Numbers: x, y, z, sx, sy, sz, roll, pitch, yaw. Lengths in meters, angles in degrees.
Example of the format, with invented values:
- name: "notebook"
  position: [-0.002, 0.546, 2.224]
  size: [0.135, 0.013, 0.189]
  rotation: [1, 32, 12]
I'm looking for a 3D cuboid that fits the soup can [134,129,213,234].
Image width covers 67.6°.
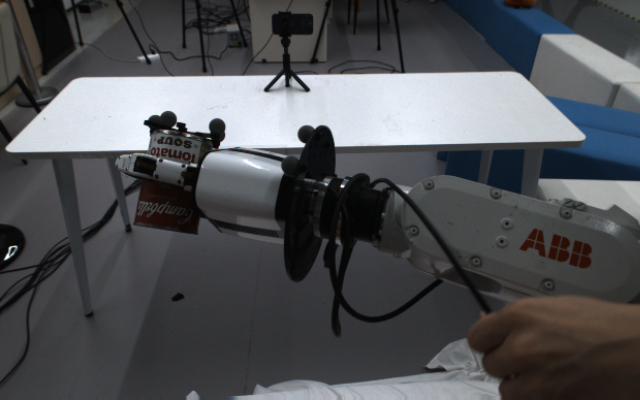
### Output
- name: "soup can"
  position: [-0.155, -0.016, 0.520]
  size: [0.067, 0.101, 0.067]
  rotation: [9, -6, 1]
